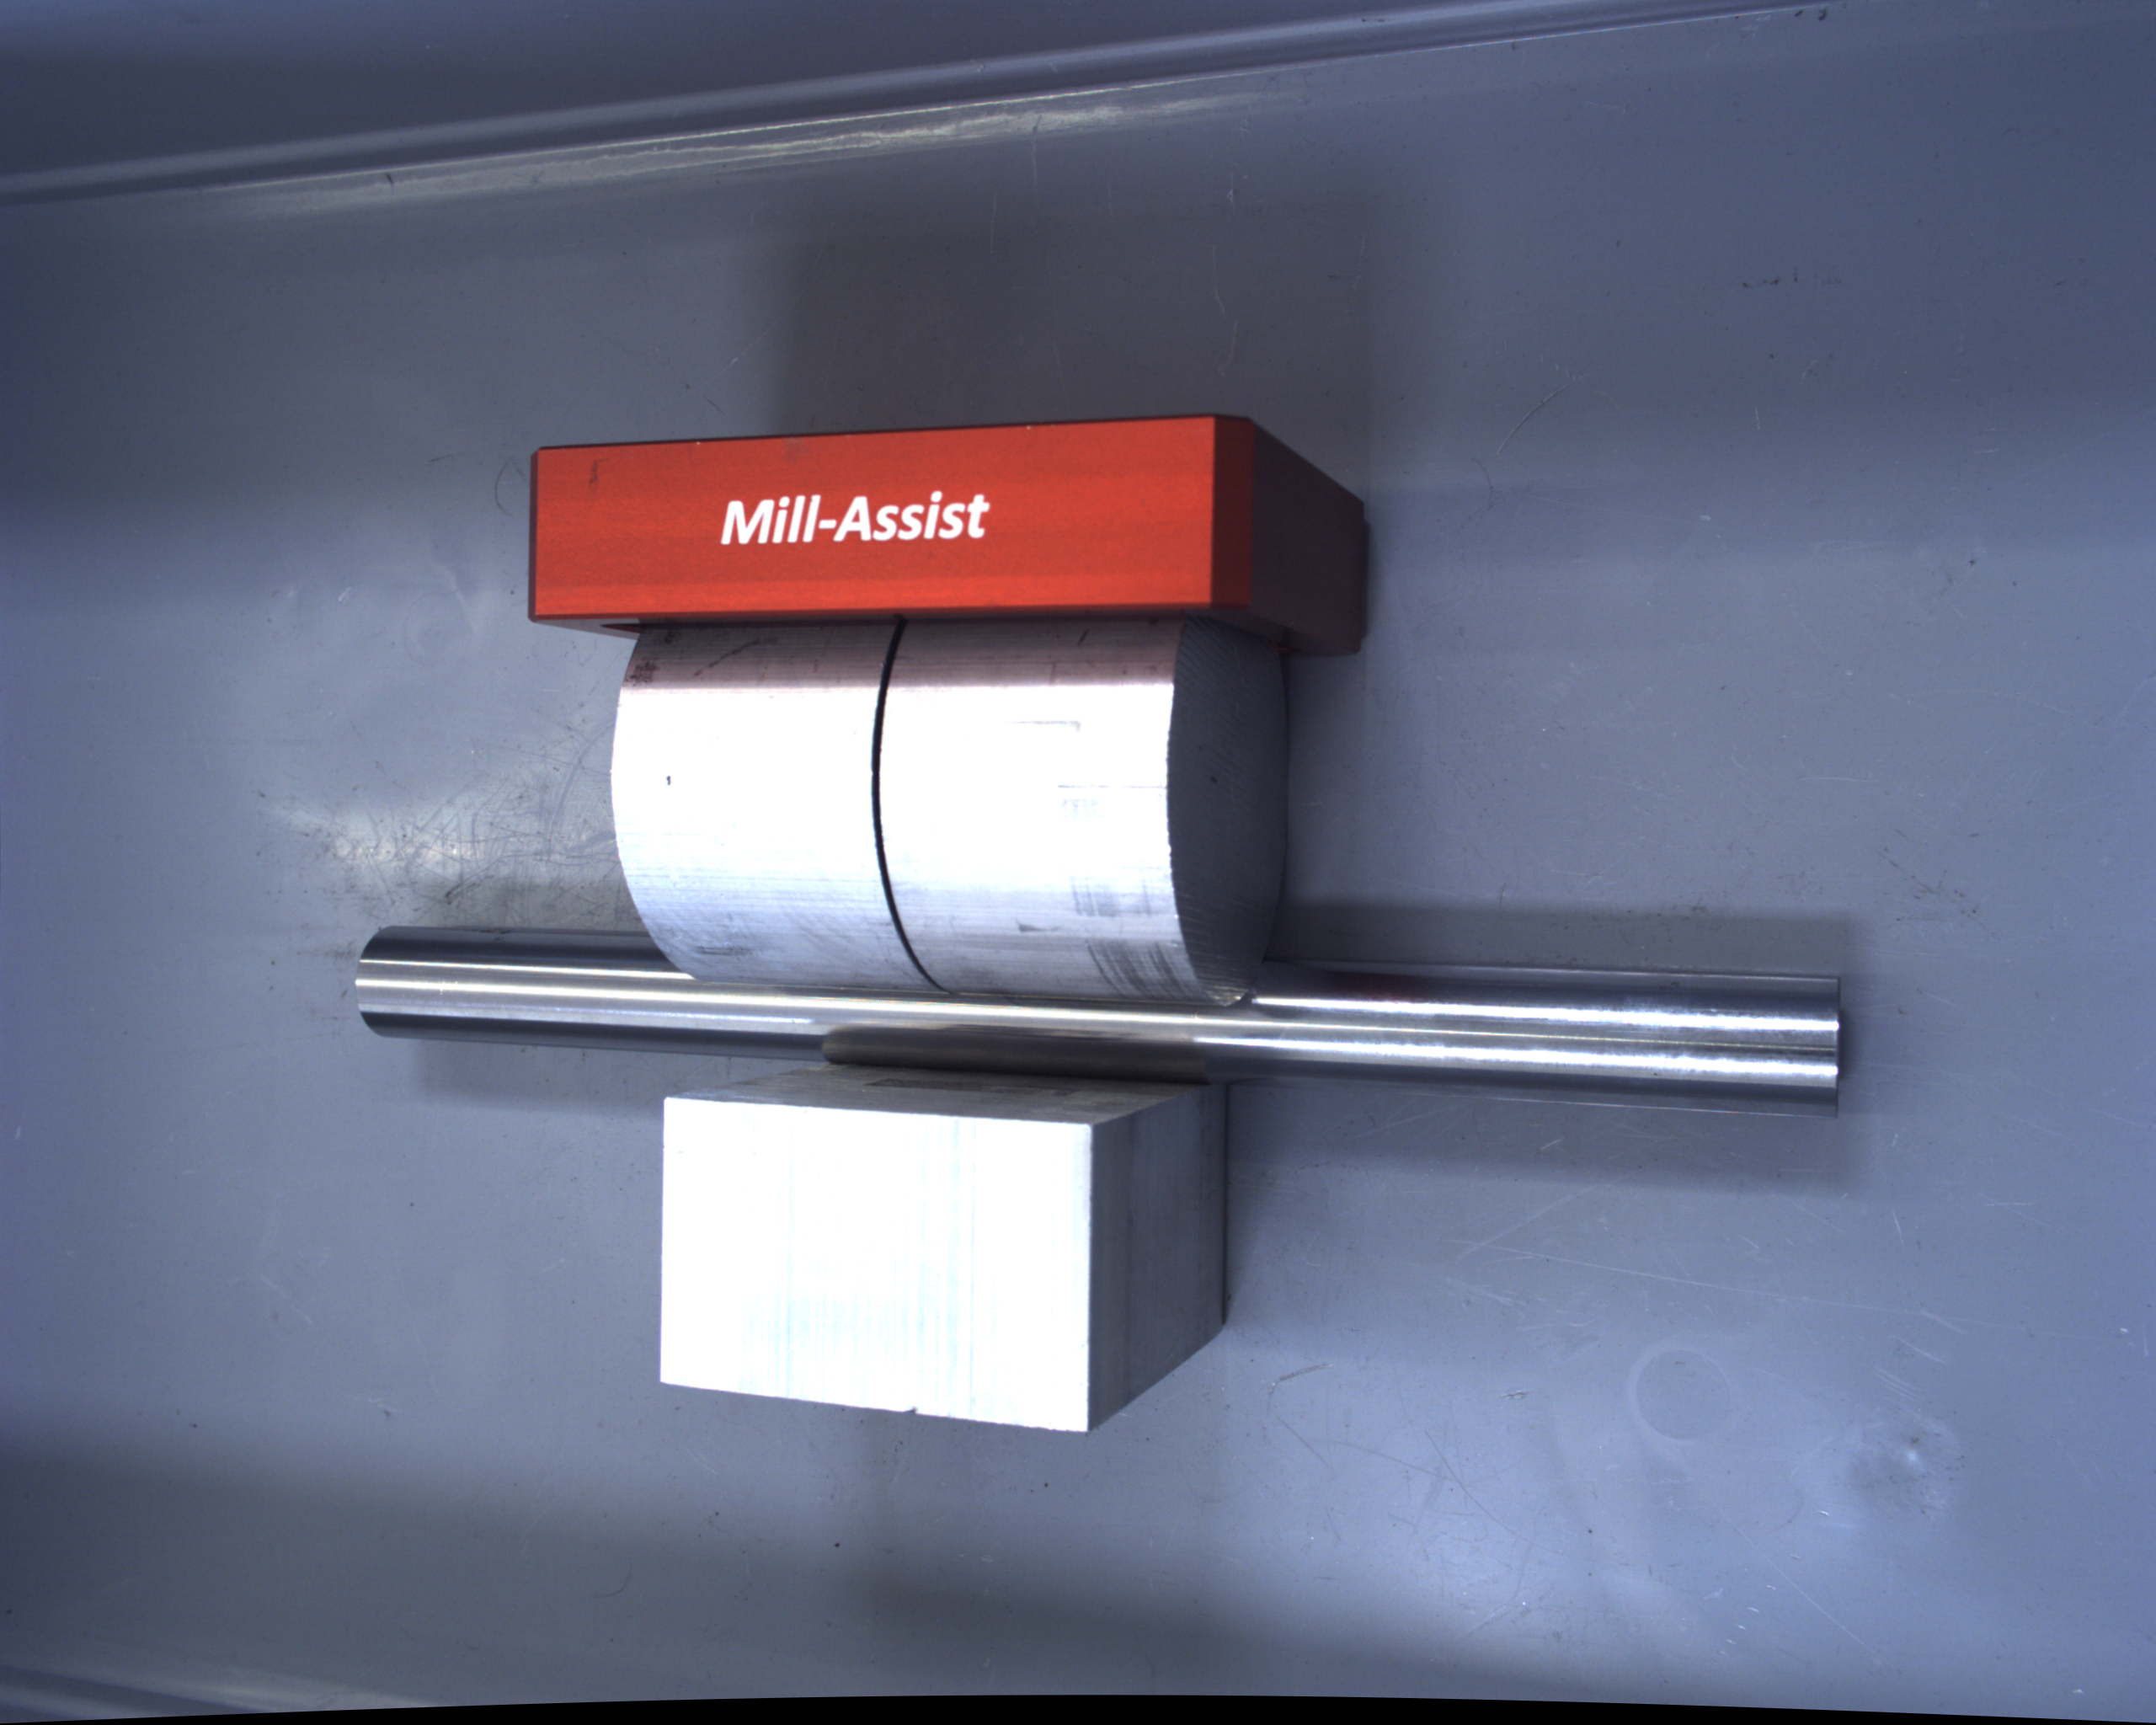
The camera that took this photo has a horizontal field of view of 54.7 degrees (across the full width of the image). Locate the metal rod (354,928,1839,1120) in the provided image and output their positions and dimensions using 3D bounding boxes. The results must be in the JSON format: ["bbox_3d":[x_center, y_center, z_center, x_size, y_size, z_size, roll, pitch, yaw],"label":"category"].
[{"bbox_3d":[-0.010,0.029,0.412,0.301,0.025,0.025,1,91,19],"label":"metal rod"}]

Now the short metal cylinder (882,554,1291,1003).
[{"bbox_3d":[0.005,-0.016,0.379,0.050,0.080,0.079,2,91,20],"label":"short metal cylinder"}]

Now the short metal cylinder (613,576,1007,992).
[{"bbox_3d":[-0.044,-0.016,0.396,0.050,0.080,0.079,1,90,20],"label":"short metal cylinder"}]

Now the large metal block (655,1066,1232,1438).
[{"bbox_3d":[-0.022,0.067,0.386,0.080,0.080,0.050,1,91,20],"label":"large metal block"}]

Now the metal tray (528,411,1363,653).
[{"bbox_3d":[-0.021,-0.056,0.381,0.130,0.090,0.030,1,91,20],"label":"metal tray"}]
